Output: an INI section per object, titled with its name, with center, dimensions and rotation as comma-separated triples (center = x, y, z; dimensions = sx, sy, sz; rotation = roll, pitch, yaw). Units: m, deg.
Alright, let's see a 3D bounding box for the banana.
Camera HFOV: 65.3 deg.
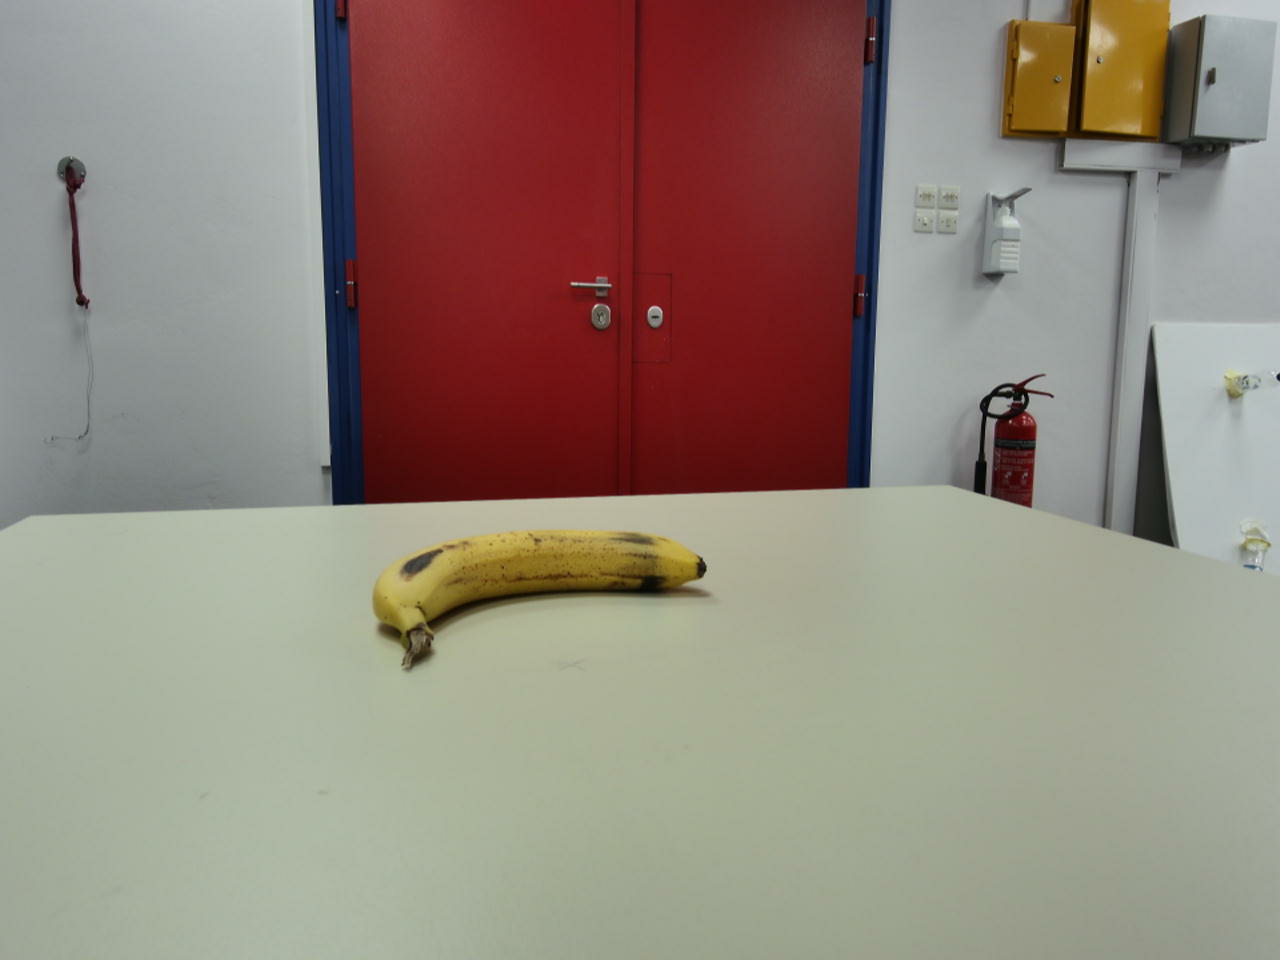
[banana]
center = -0.061, 0.052, 0.533
dimensions = 0.186, 0.038, 0.097
rotation = -6, 9, -41
